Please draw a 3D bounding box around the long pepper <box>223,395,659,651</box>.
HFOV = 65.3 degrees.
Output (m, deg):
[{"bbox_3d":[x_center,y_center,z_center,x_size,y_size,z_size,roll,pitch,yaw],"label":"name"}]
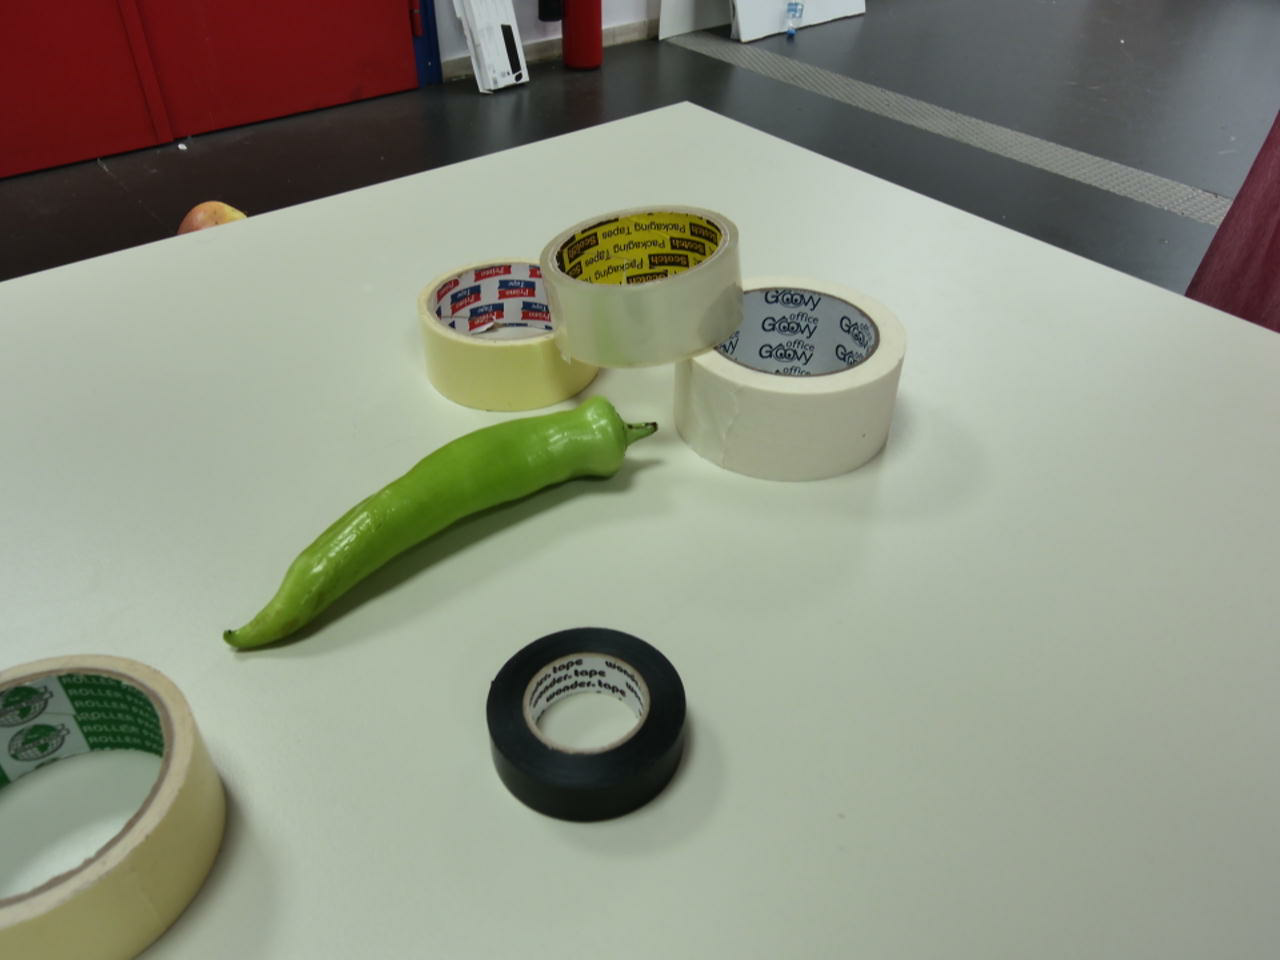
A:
[{"bbox_3d":[-0.079,0.007,0.409,0.197,0.038,0.047,-24,44,-30],"label":"long pepper"}]
